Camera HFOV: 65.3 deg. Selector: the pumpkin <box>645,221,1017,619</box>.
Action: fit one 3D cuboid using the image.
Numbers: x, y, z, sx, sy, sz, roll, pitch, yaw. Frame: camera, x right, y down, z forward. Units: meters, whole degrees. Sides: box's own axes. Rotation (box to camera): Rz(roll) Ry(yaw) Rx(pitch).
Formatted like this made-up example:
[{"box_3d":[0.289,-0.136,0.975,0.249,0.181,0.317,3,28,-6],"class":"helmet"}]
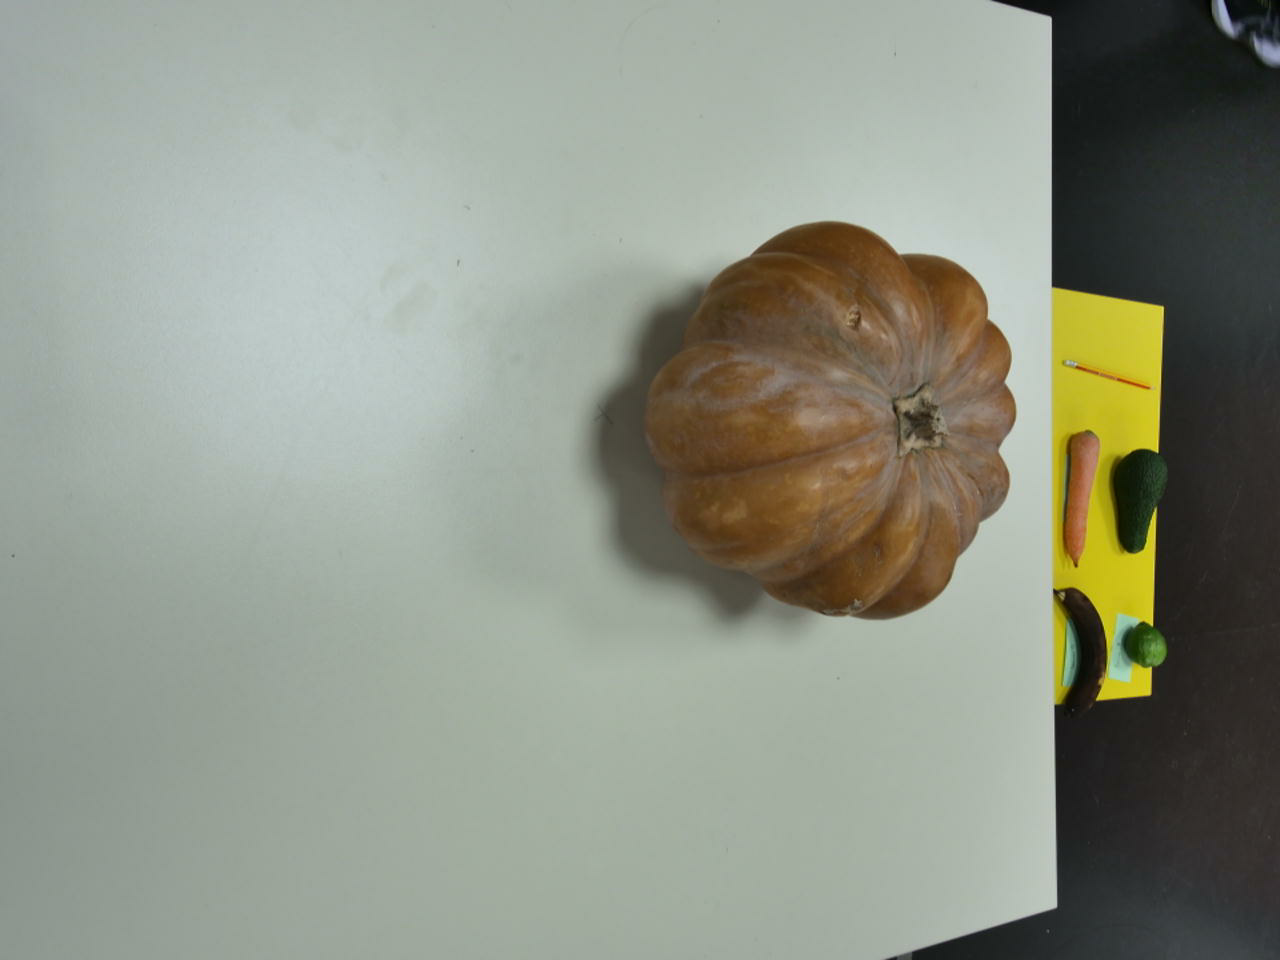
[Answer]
[{"box_3d":[0.134,-0.039,0.683,0.277,0.181,0.277,0,91,-29],"class":"pumpkin"}]
